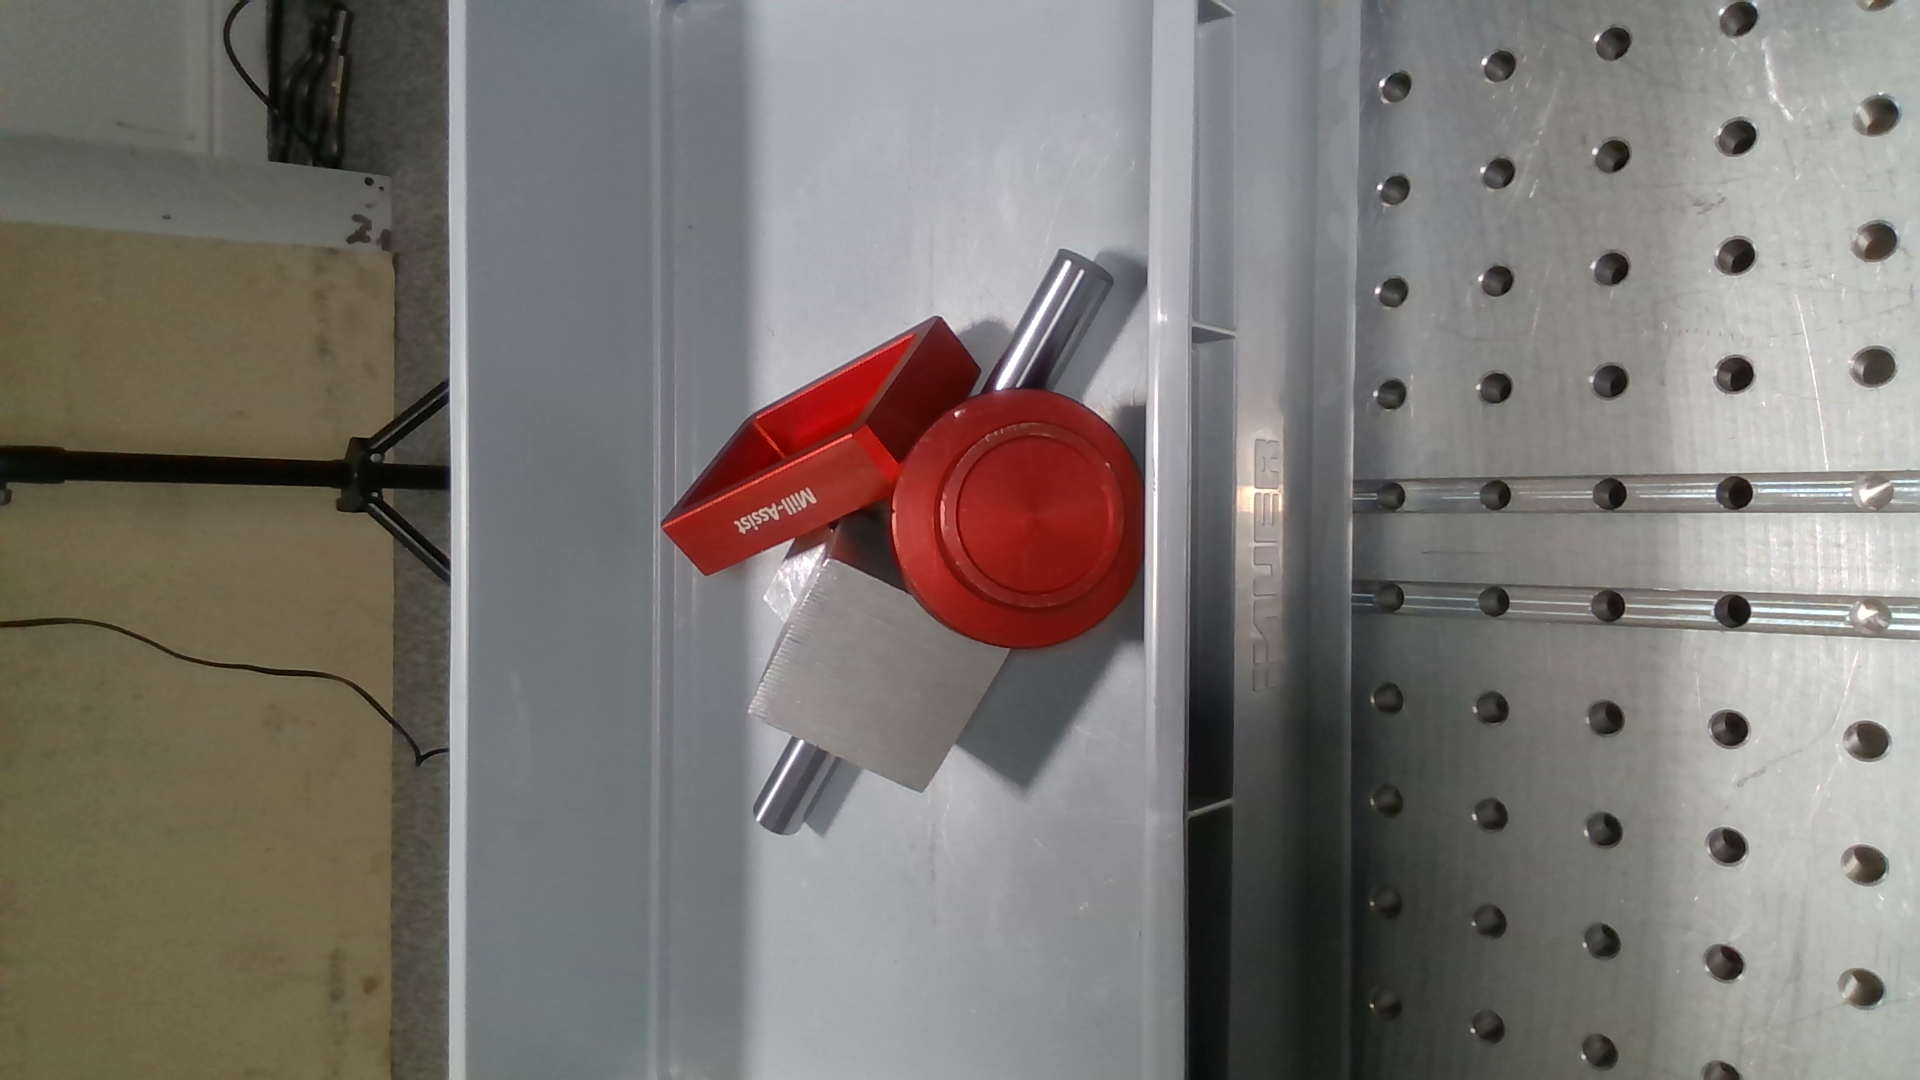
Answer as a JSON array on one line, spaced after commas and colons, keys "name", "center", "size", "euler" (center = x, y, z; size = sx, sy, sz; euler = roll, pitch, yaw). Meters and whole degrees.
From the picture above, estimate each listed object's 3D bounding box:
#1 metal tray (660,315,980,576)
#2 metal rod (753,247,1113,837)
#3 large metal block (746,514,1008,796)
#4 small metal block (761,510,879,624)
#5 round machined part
[{"name": "metal tray", "center": [-0.061, -0.040, 0.591], "size": [0.130, 0.090, 0.030], "euler": [-21, 117, 38]}, {"name": "metal rod", "center": [-0.019, 0.012, 0.597], "size": [0.025, 0.025, 0.301], "euler": [44, 117, 31]}, {"name": "large metal block", "center": [-0.031, 0.045, 0.565], "size": [0.080, 0.050, 0.080], "euler": [26, 113, -8]}, {"name": "small metal block", "center": [-0.052, 0.014, 0.608], "size": [0.025, 0.050, 0.050], "euler": [46, 118, 30]}, {"name": "round machined part", "center": [0.022, -0.008, 0.511], "size": [0.042, 0.098, 0.098], "euler": [174, 95, -81]}]
